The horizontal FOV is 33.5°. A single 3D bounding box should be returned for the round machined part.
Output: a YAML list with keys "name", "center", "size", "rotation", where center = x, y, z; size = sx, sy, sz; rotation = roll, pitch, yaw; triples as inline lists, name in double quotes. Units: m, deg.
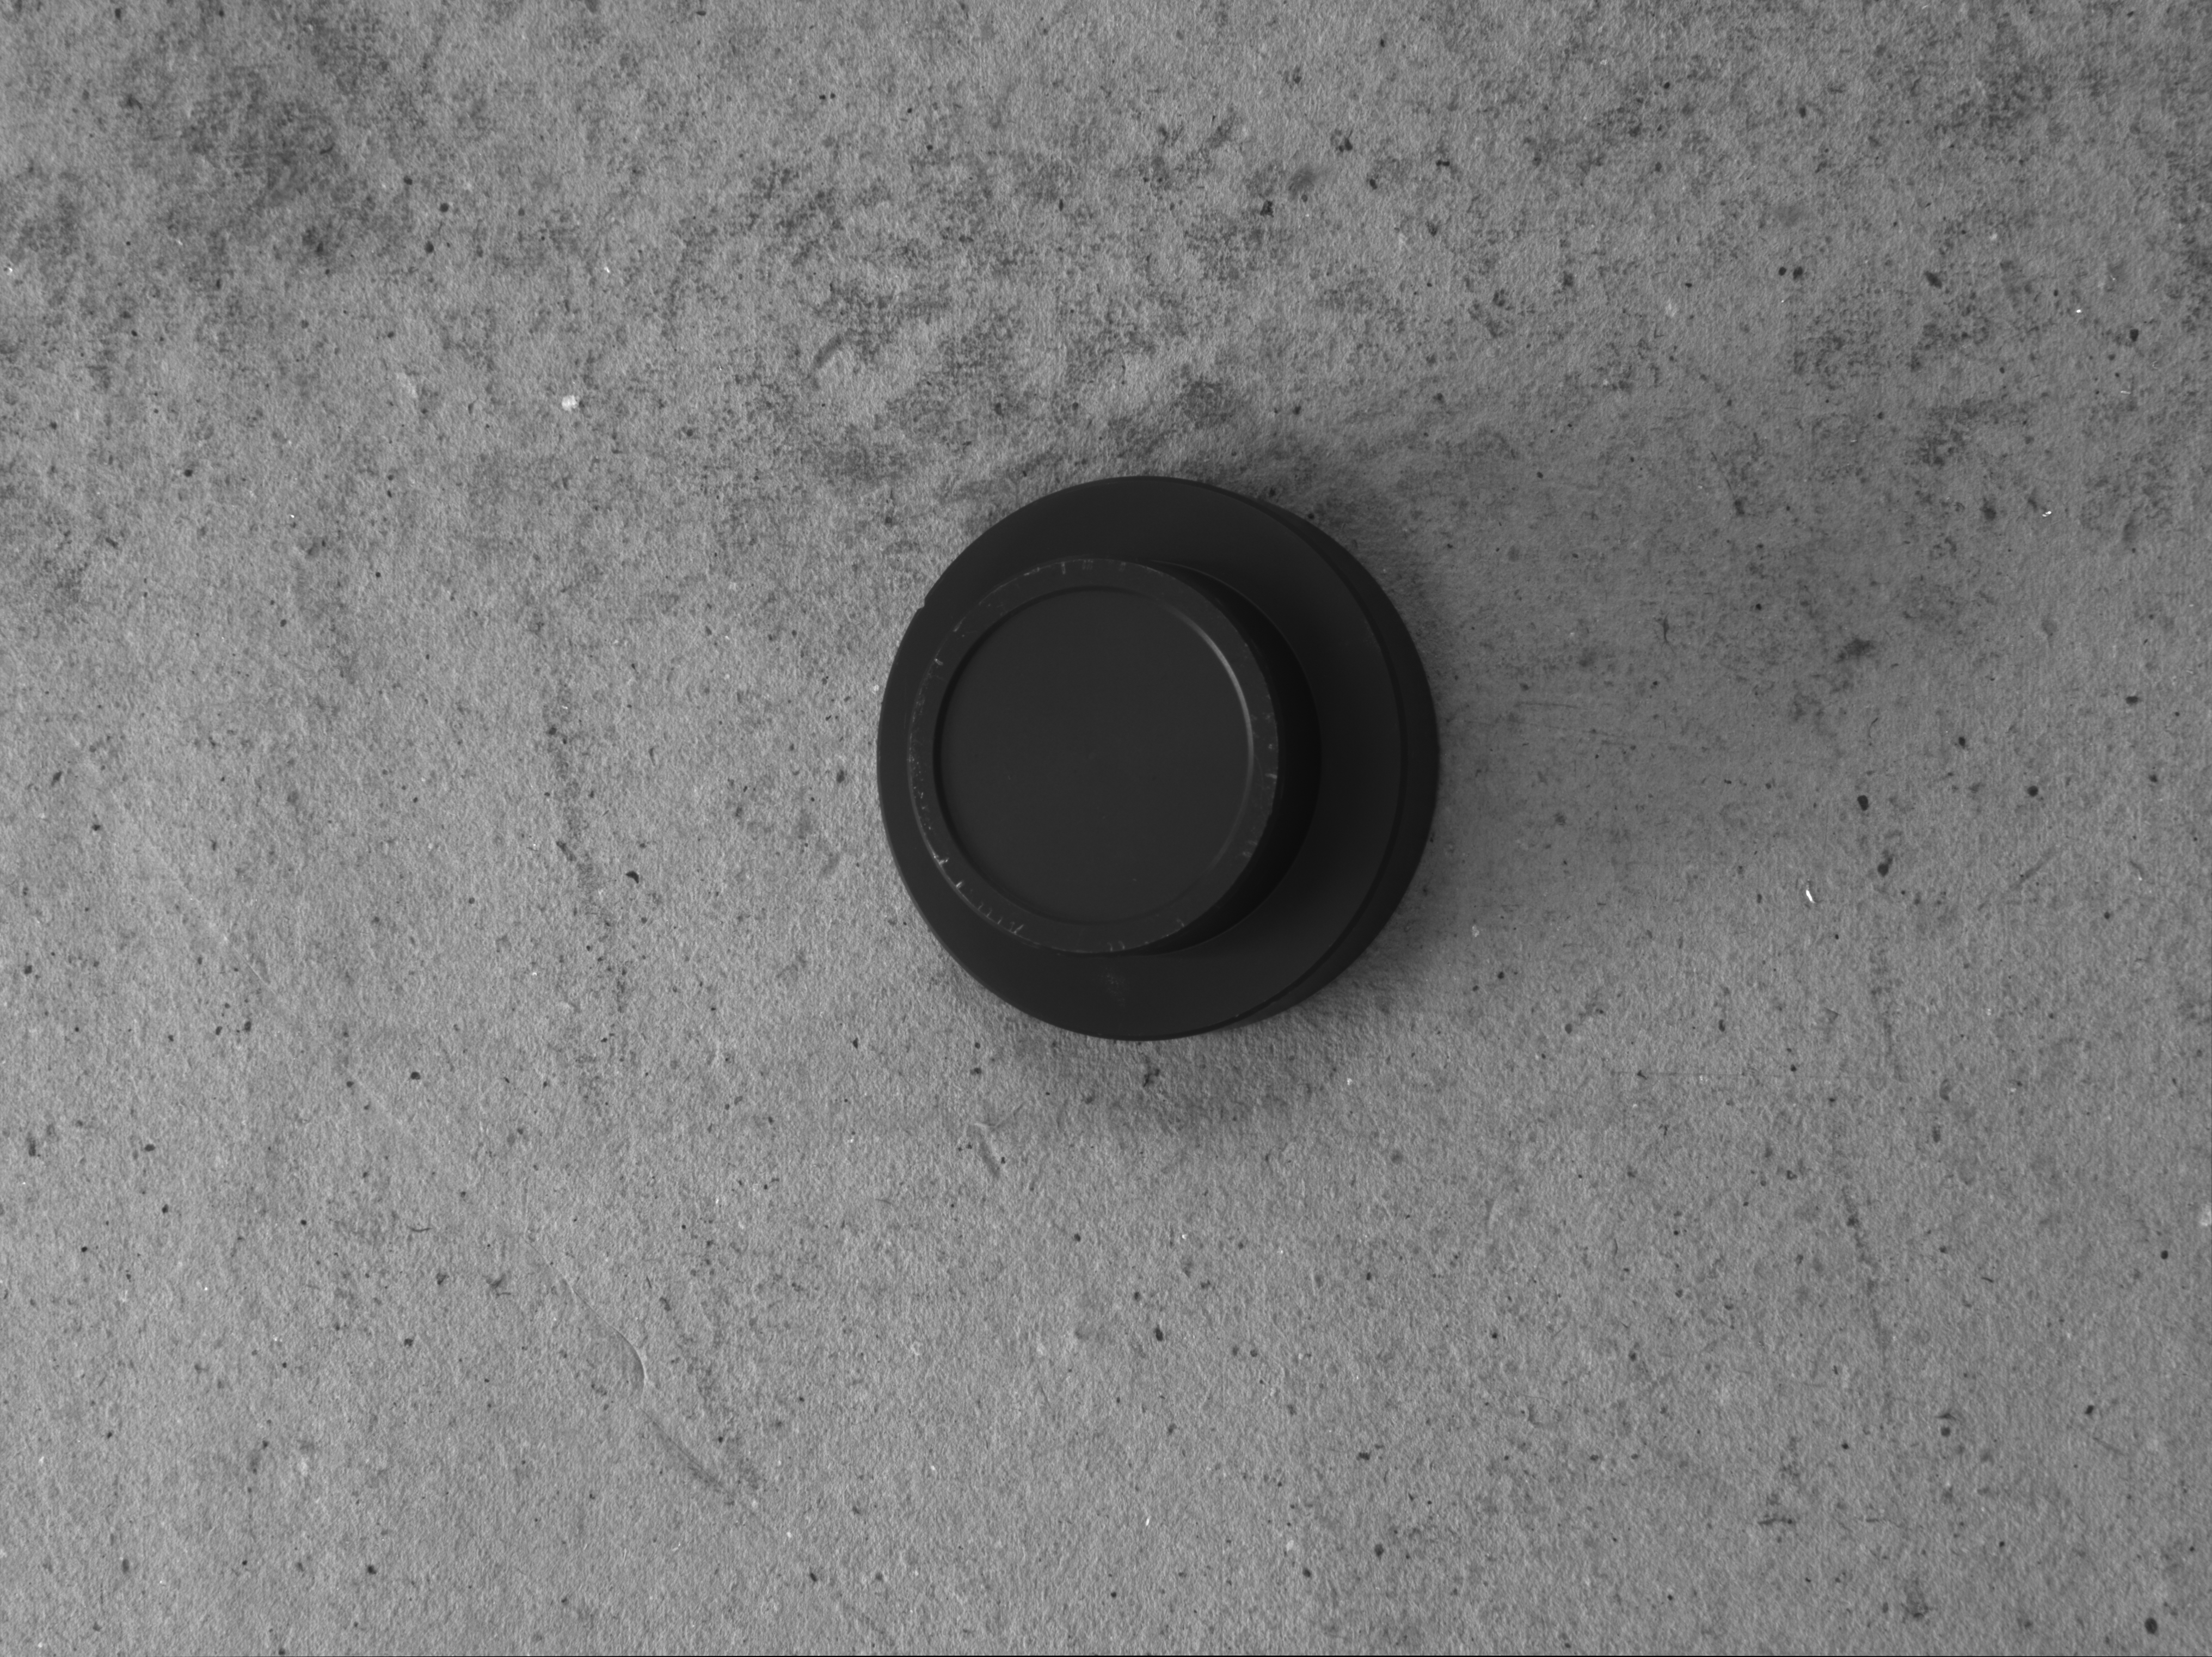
- name: "round machined part"
  center: [0.005, -0.012, 0.637]
  size: [0.098, 0.042, 0.098]
  rotation: [0, 90, 20]
